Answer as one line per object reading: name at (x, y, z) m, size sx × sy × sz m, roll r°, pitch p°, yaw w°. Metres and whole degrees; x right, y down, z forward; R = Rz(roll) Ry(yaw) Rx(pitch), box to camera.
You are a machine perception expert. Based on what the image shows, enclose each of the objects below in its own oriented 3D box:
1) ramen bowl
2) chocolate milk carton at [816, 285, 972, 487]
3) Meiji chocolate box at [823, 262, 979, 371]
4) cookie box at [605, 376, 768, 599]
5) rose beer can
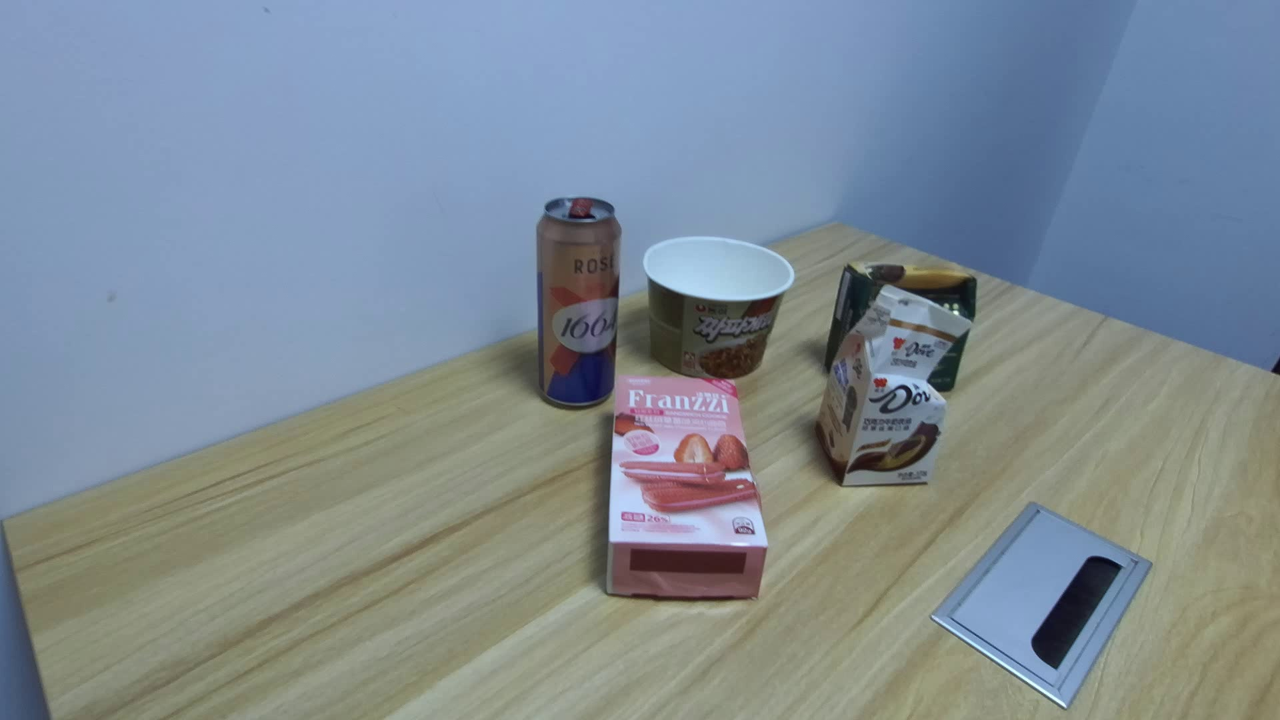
ramen bowl at (0.069, -0.048, 0.673) m, size 0.140 × 0.095 × 0.140 m, roll 3°, pitch 32°, yaw -1°
chocolate milk carton at (0.189, 0.014, 0.527) m, size 0.076 × 0.155 × 0.073 m, roll 0°, pitch 34°, yaw -7°
Meiji chocolate box at (0.242, -0.031, 0.651) m, size 0.117 × 0.117 × 0.051 m, roll -2°, pitch 23°, yaw -11°
cookie box at (0.032, 0.081, 0.502) m, size 0.105 × 0.049 × 0.187 m, roll 3°, pitch 32°, yaw -2°
rose beer can at (-0.053, -0.044, 0.586) m, size 0.069 × 0.169 × 0.068 m, roll 4°, pitch 30°, yaw -2°
